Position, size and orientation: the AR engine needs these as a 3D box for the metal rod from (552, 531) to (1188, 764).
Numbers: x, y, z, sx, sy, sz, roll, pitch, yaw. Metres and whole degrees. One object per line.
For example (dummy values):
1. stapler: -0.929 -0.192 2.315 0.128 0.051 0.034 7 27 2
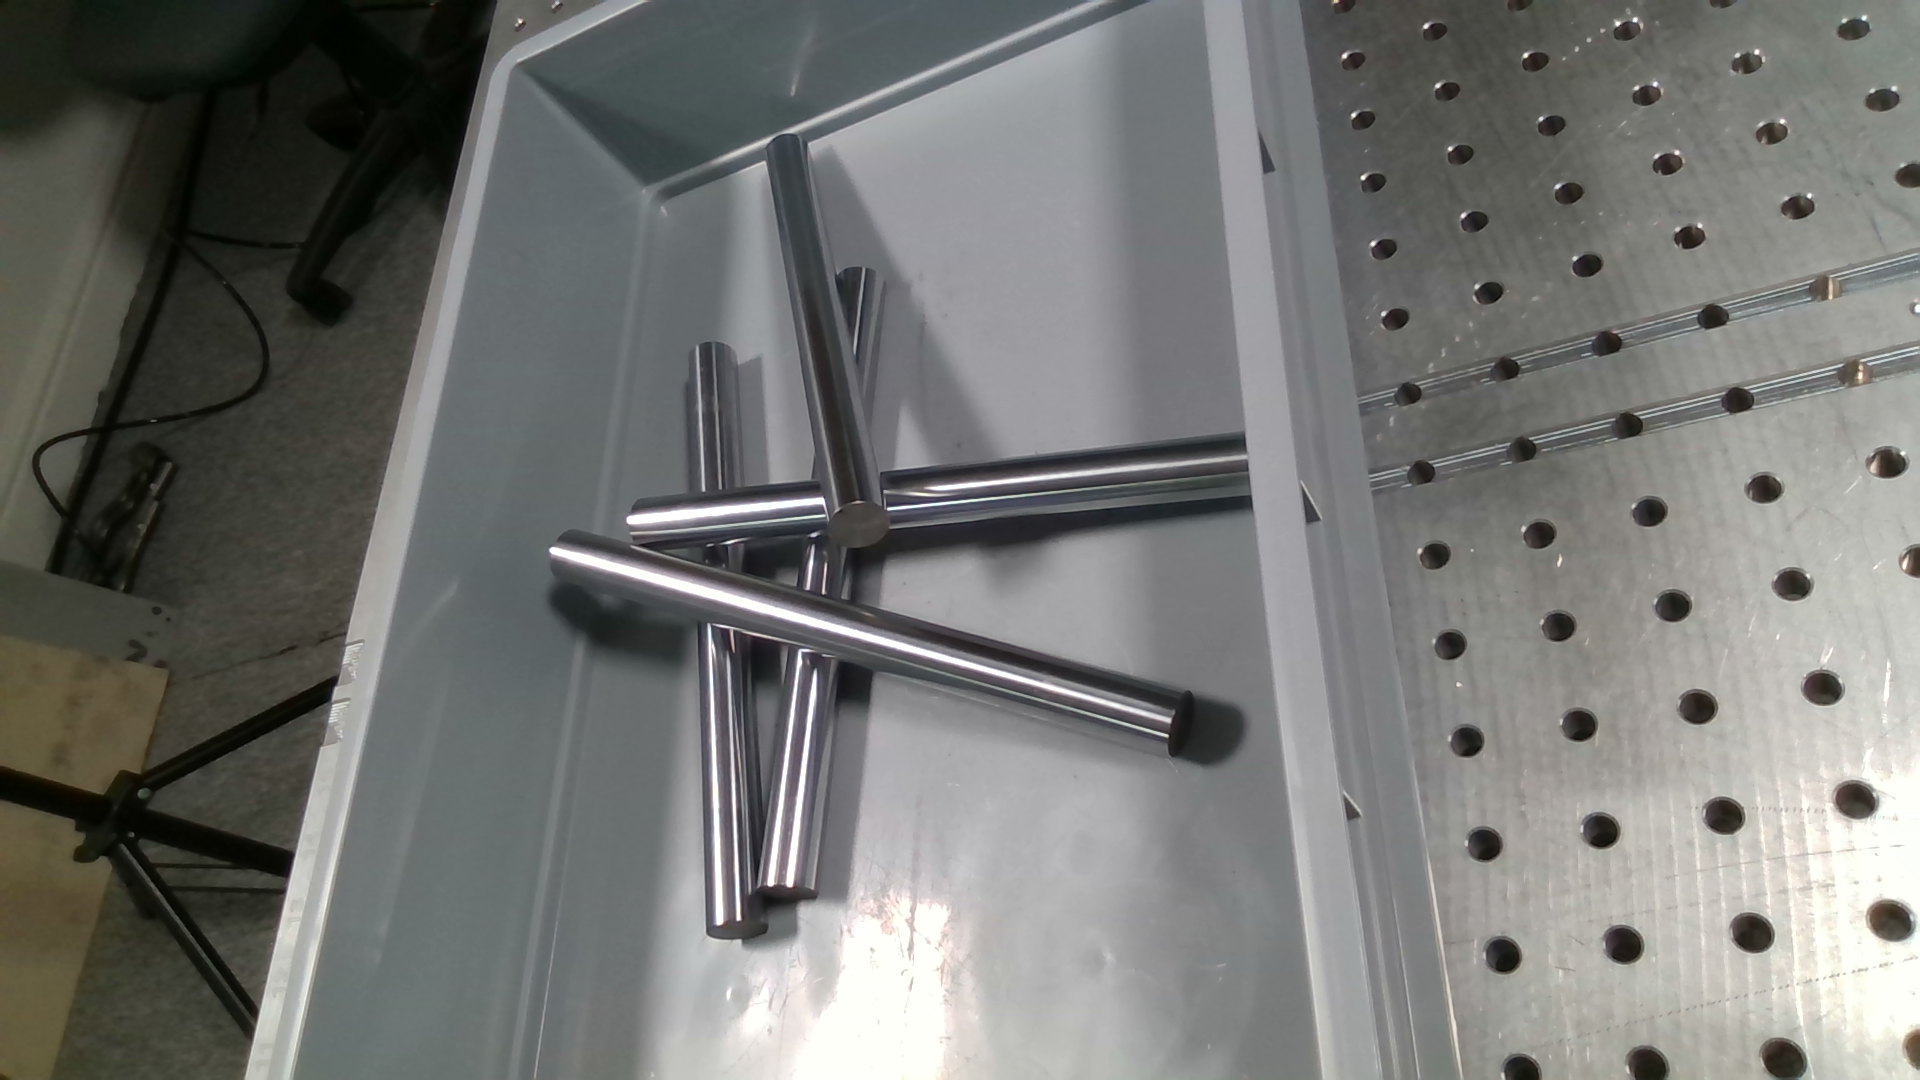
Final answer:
1. metal rod: -0.051 0.038 0.570 0.300 0.025 0.025 13 73 28

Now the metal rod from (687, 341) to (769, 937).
1. metal rod: -0.109 0.031 0.635 0.025 0.025 0.299 -22 56 20

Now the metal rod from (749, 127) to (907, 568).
1. metal rod: -0.068 -0.105 0.650 0.025 0.025 0.299 -31 48 14

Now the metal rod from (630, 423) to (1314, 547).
1. metal rod: -0.006 -0.020 0.576 0.300 0.025 0.025 -5 63 23

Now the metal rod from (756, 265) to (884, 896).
1. metal rod: -0.059 0.006 0.617 0.025 0.025 0.299 -10 61 27
